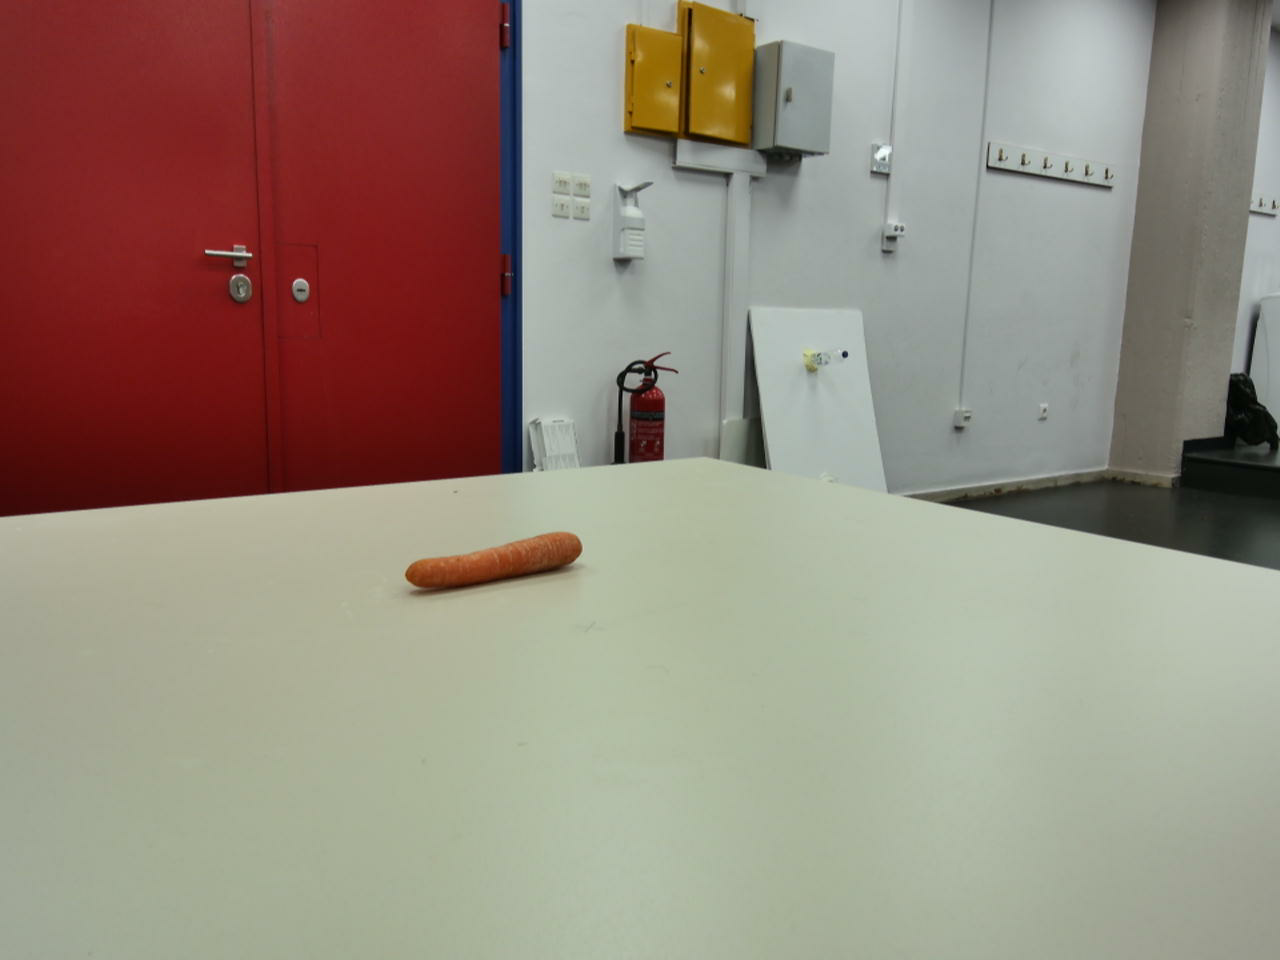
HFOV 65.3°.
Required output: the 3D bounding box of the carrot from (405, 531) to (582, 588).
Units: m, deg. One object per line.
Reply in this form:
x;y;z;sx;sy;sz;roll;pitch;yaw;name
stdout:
-0.087;0.049;0.614;0.122;0.023;0.024;-6;10;-38;carrot
